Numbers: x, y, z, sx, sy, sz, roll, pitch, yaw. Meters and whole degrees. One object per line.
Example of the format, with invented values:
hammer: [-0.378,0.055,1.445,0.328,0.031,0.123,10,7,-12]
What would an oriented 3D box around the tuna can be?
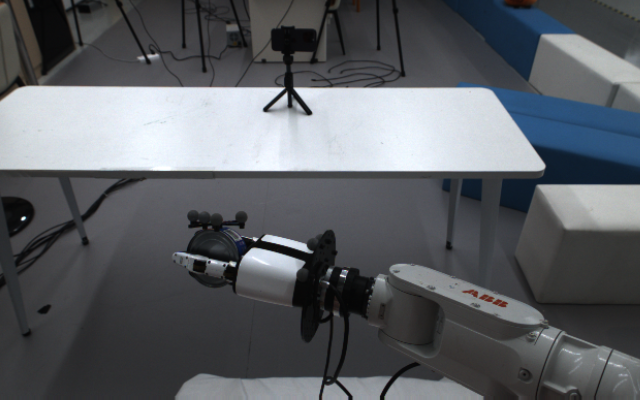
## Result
tuna can: [-0.148,0.083,0.703,0.085,0.085,0.034,15,9,18]
